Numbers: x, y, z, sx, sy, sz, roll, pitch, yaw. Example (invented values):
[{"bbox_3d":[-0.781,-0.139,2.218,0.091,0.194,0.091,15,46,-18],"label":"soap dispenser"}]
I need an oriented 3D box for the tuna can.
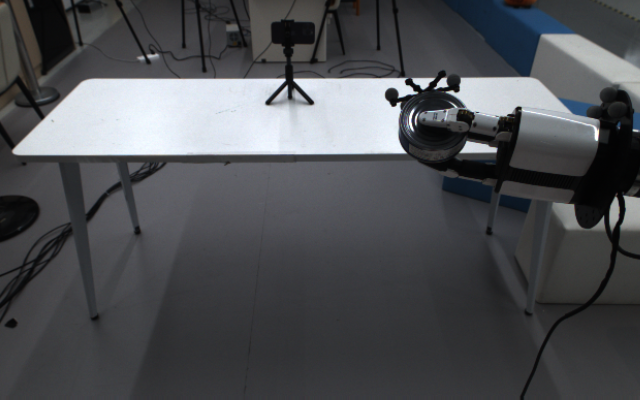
[{"bbox_3d":[0.142,-0.094,0.599,0.085,0.034,0.085,-4,68,9],"label":"tuna can"}]
